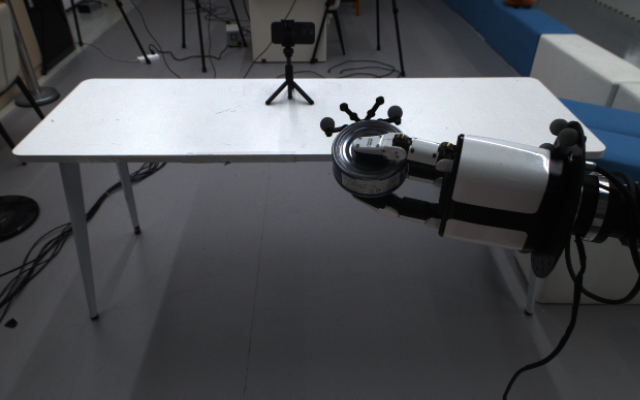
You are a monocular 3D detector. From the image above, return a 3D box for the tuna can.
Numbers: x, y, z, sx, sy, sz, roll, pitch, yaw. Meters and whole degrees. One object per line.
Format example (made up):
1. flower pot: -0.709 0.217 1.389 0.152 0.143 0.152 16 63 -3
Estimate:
1. tuna can: 0.059 -0.047 0.537 0.085 0.034 0.085 -3 61 5
